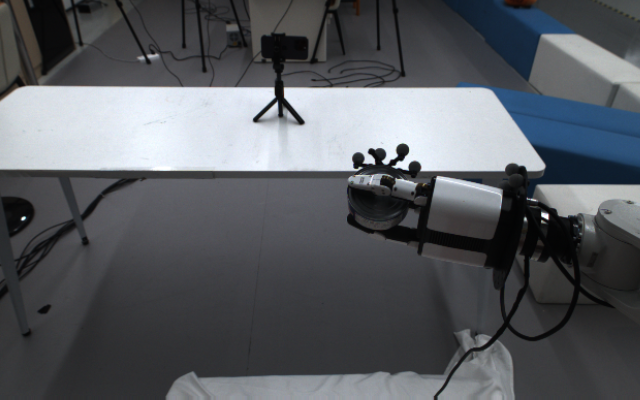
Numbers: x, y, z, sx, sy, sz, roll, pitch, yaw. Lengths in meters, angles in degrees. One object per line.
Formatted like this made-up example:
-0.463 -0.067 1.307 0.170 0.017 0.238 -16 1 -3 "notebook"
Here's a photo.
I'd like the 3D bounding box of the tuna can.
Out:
0.079 -0.009 0.649 0.085 0.034 0.085 -2 56 3 "tuna can"
